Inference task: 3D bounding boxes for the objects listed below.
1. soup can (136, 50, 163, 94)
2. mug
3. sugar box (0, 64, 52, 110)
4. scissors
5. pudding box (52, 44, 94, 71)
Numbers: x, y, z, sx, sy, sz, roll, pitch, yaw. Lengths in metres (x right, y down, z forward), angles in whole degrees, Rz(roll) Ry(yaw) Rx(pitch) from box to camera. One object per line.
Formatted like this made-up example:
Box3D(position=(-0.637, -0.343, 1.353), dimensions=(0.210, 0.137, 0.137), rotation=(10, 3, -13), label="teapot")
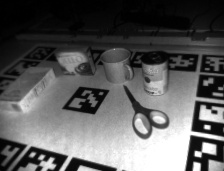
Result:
Box3D(position=(0.103, -0.036, 0.589), dimensions=(0.068, 0.103, 0.067), rotation=(-8, 38, 7), label="soup can")
Box3D(position=(0.012, -0.072, 0.660), dimensions=(0.093, 0.082, 0.116), rotation=(-19, 38, -3), label="mug")
Box3D(position=(-0.276, -0.002, 0.687), dimensions=(0.092, 0.046, 0.176), rotation=(4, 44, 22), label="sugar box")
Box3D(position=(0.053, 0.049, 0.555), dimensions=(0.088, 0.016, 0.200), rotation=(-28, 42, -3), label="scissors")
Box3D(position=(-0.125, -0.093, 0.709), dimensions=(0.113, 0.091, 0.038), rotation=(0, 48, 15), label="pudding box")
